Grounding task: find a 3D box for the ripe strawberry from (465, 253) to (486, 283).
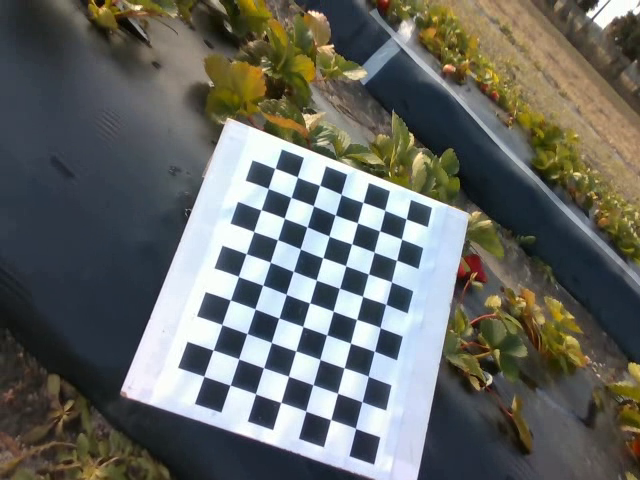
[{"bbox_3d":[0.262,0.051,1.037,0.048,0.065,0.050,-28,-12,-21],"label":"ripe strawberry"}]
